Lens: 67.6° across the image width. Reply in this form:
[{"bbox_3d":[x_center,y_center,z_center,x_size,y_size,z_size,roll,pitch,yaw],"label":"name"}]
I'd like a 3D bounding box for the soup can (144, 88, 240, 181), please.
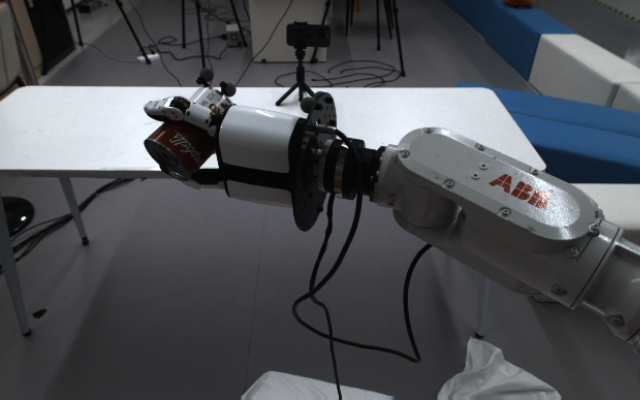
[{"bbox_3d":[-0.153,-0.081,0.590,0.067,0.067,0.101,23,61,27],"label":"soup can"}]
